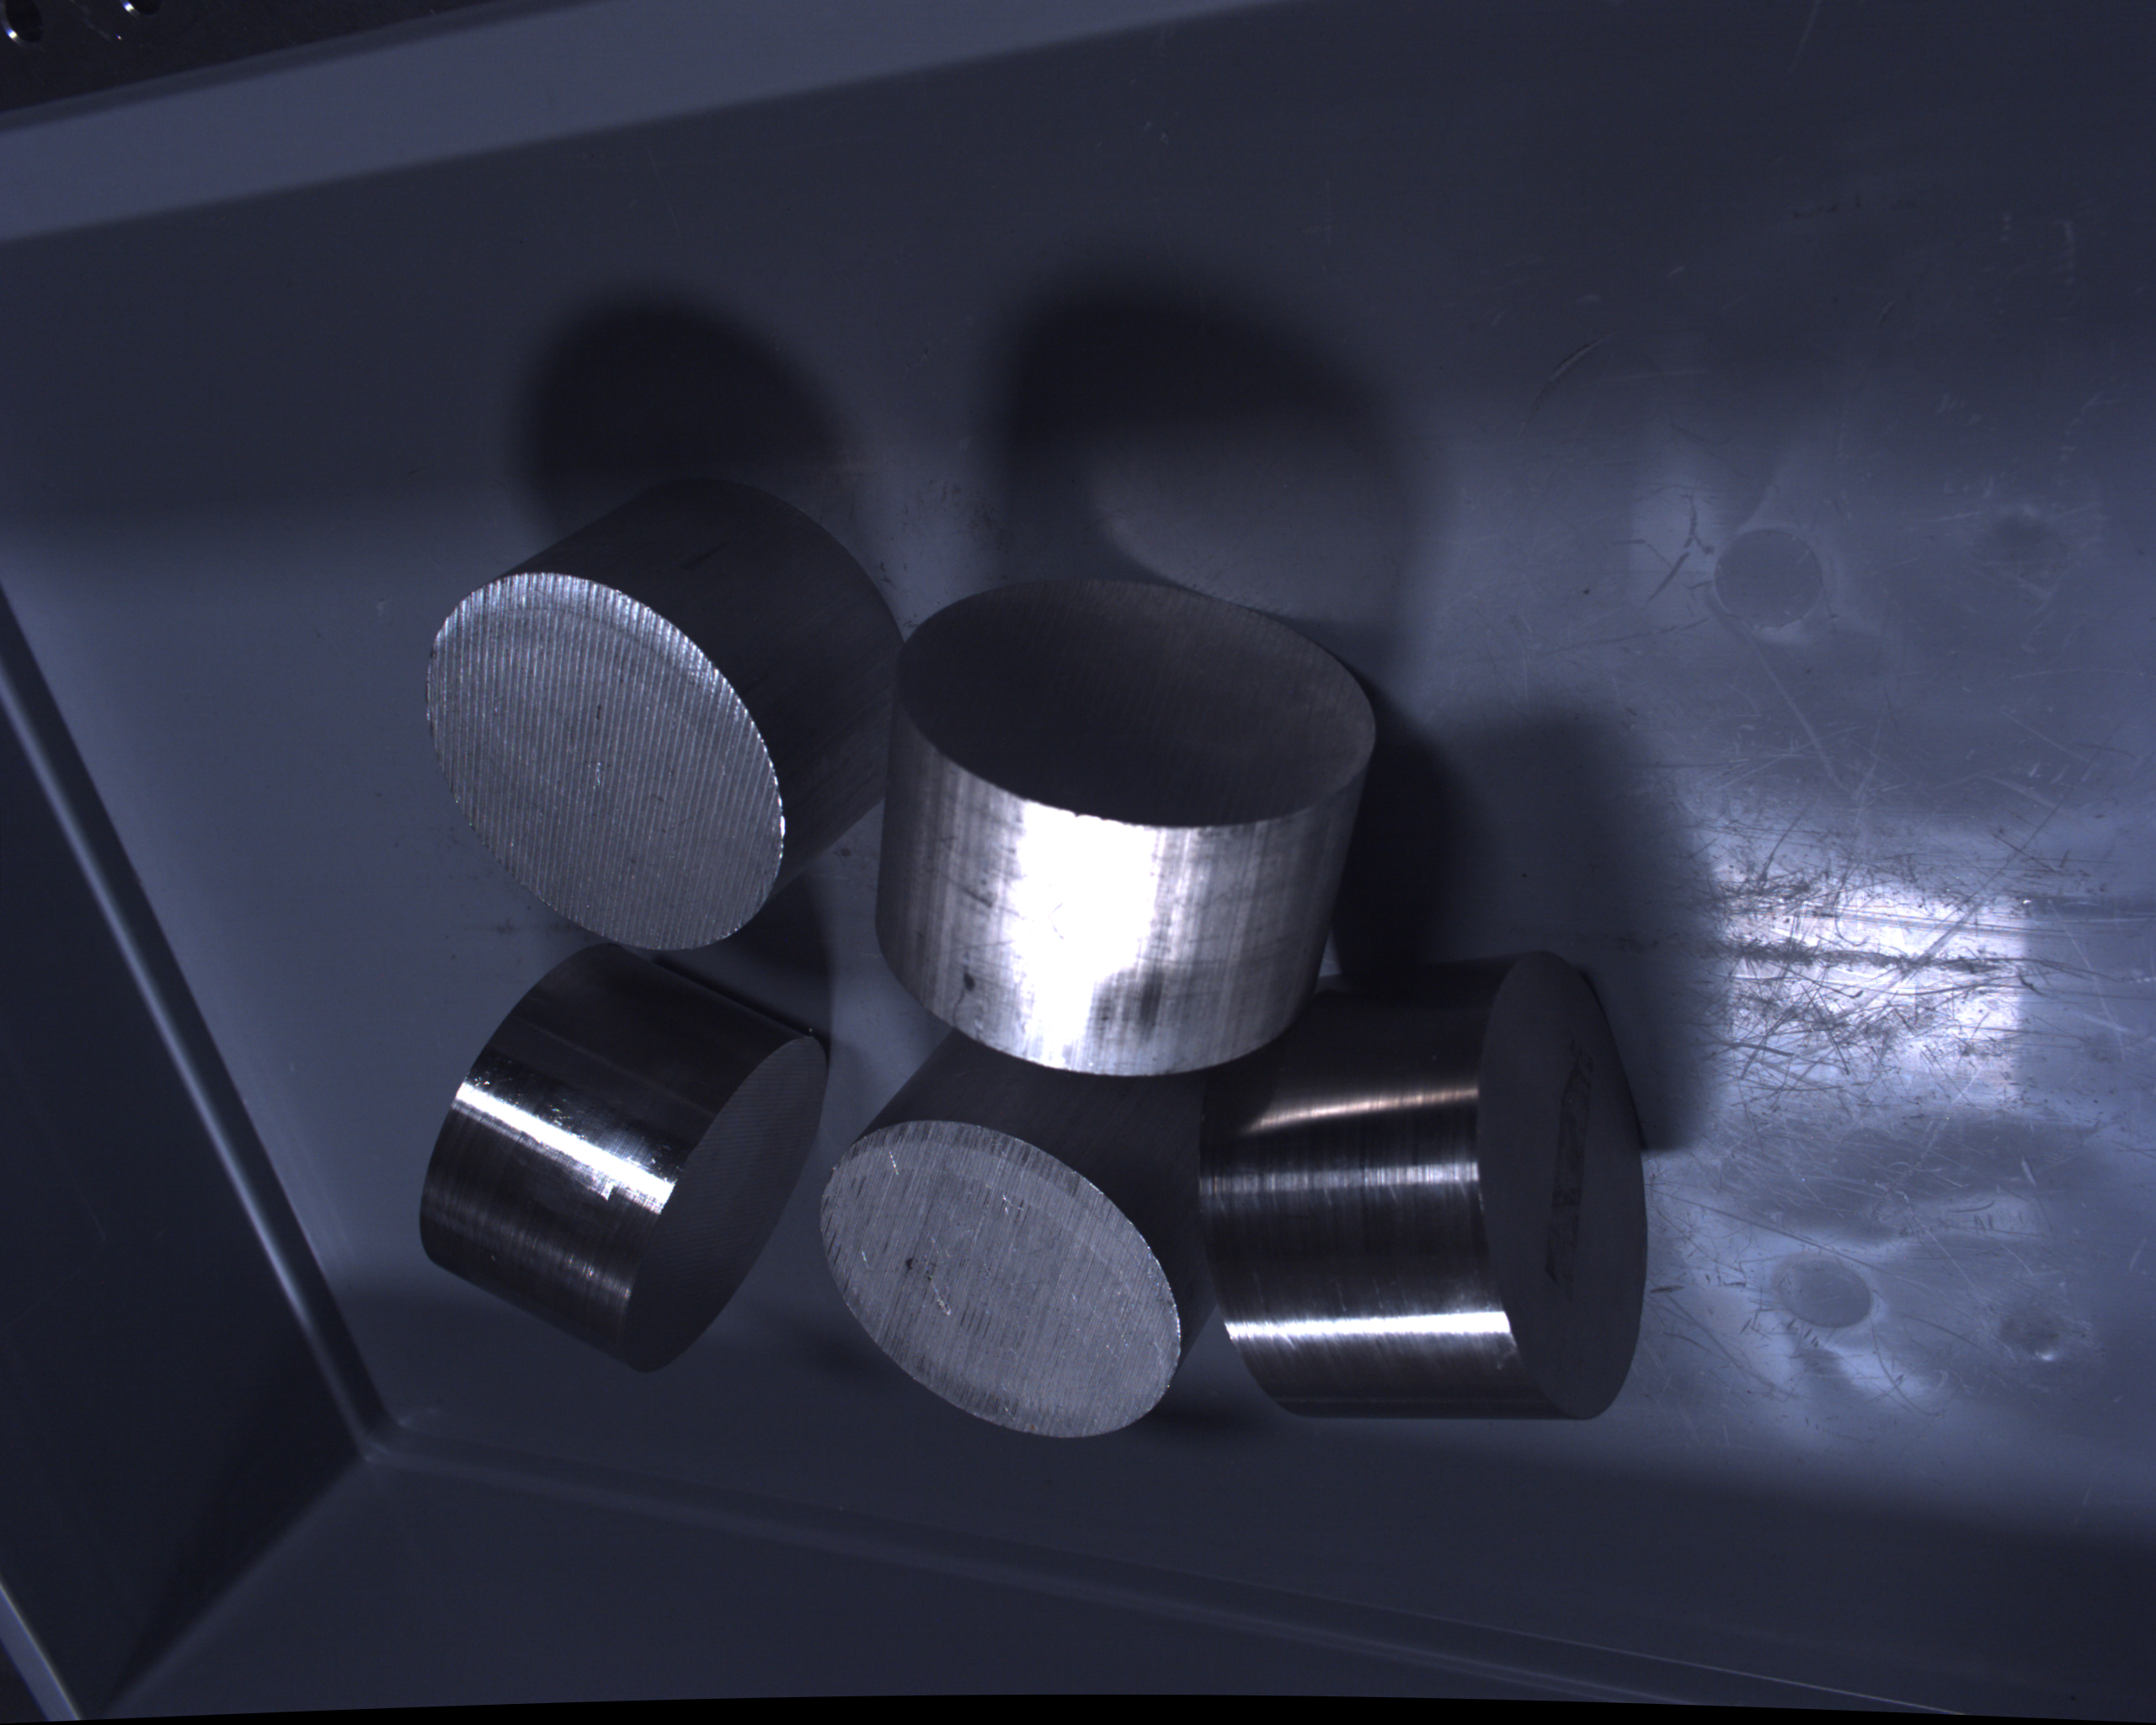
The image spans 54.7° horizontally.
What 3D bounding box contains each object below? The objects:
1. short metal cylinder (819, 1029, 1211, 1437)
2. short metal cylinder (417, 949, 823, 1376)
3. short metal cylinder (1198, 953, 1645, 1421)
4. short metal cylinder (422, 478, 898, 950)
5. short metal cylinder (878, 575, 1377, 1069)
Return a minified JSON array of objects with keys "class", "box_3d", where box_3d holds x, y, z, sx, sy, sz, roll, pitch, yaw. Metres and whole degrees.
[{"class":"short metal cylinder","box_3d":[-0.006,0.073,0.437,0.080,0.050,0.079,13,124,20]},{"class":"short metal cylinder","box_3d":[-0.099,0.066,0.461,0.050,0.080,0.079,24,127,13]},{"class":"short metal cylinder","box_3d":[0.063,0.059,0.373,0.050,0.080,0.080,-9,114,32]},{"class":"short metal cylinder","box_3d":[-0.080,-0.030,0.412,0.080,0.050,0.079,13,124,20]},{"class":"short metal cylinder","box_3d":[0.007,-0.009,0.362,0.080,0.080,0.050,20,126,16]}]
